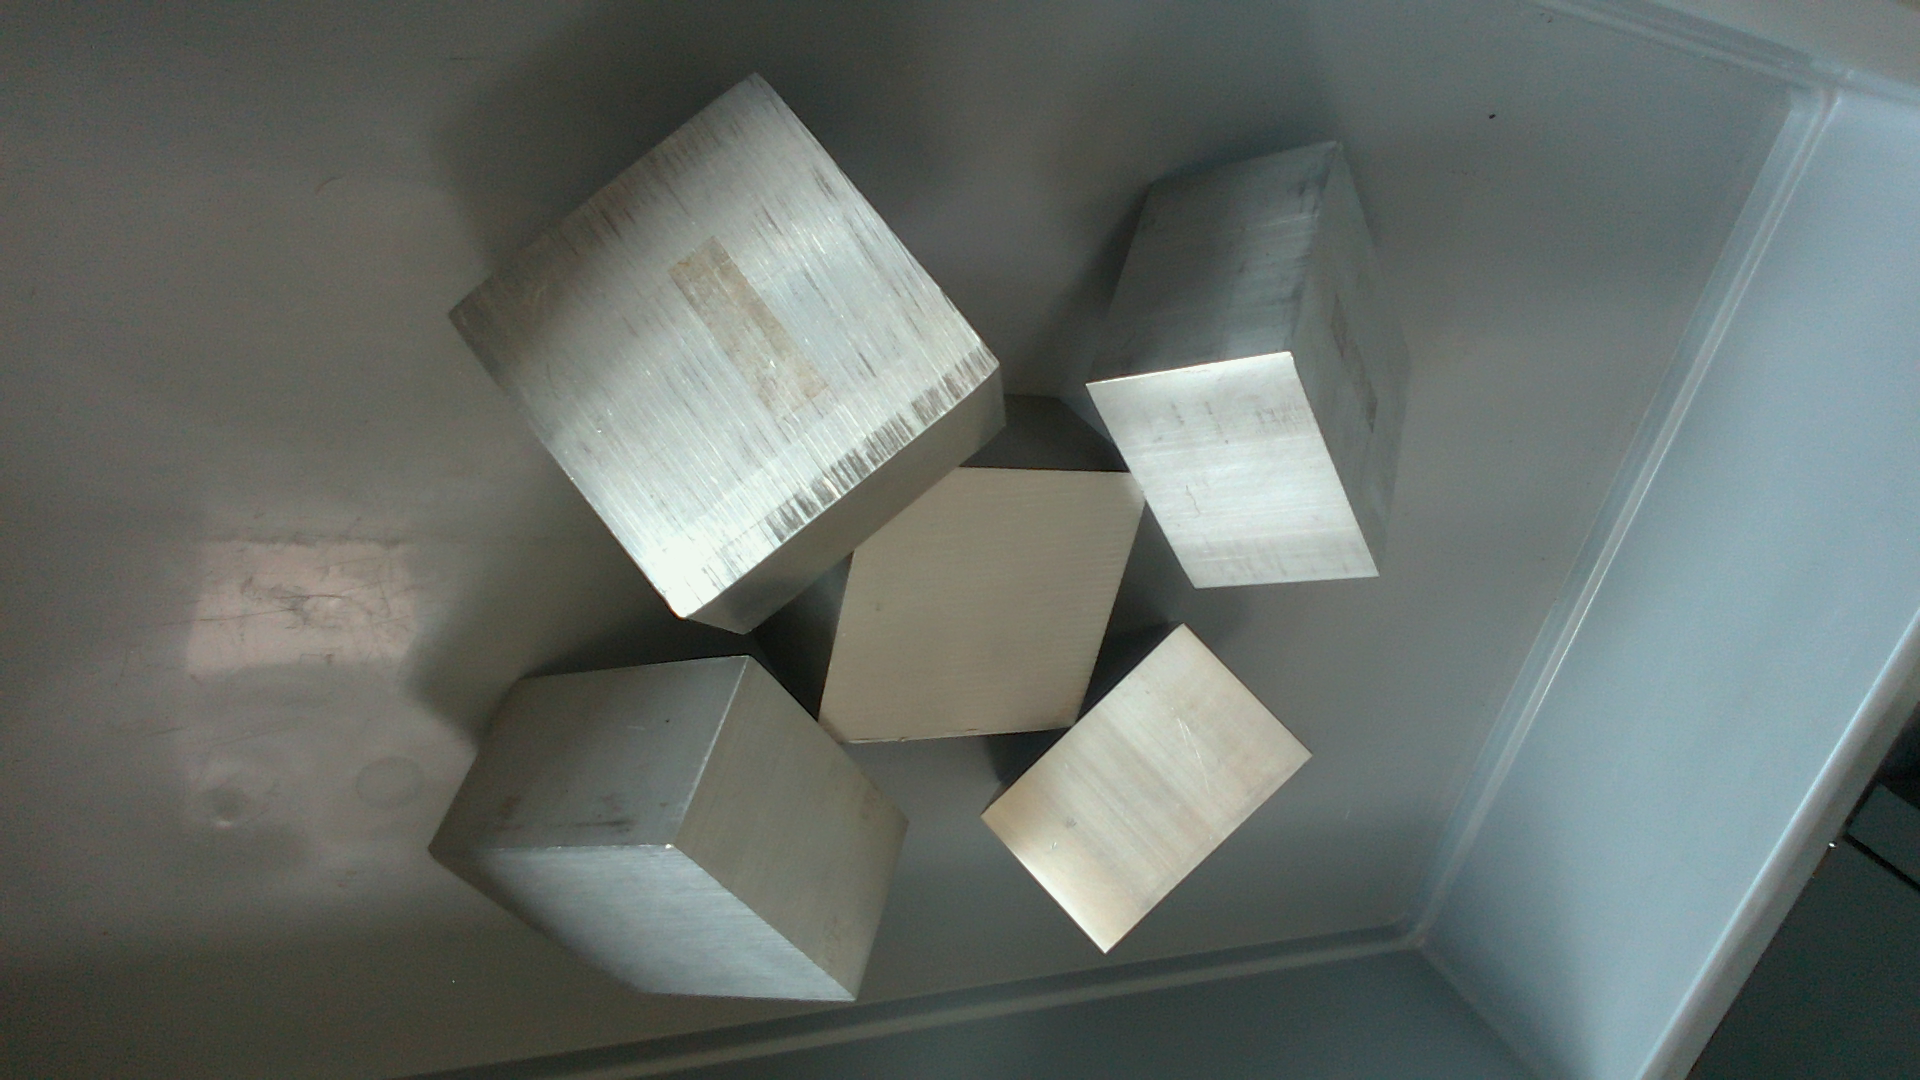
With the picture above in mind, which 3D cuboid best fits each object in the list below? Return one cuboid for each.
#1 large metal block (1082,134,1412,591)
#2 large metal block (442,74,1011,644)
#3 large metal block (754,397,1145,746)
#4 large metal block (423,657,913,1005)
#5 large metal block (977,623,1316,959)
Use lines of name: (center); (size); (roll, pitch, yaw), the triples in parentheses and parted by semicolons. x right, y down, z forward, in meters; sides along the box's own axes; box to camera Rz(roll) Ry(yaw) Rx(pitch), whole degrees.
large metal block: (0.080, -0.044, 0.361); (0.080, 0.050, 0.080); (55, 43, -38)
large metal block: (-0.046, -0.035, 0.295); (0.080, 0.080, 0.050); (-39, 173, -2)
large metal block: (-0.004, 0.006, 0.372); (0.080, 0.050, 0.080); (1, 118, -29)
large metal block: (-0.072, 0.076, 0.353); (0.080, 0.050, 0.080); (-7, 137, 30)
large metal block: (0.055, 0.071, 0.416); (0.080, 0.050, 0.080); (-44, 174, 2)
